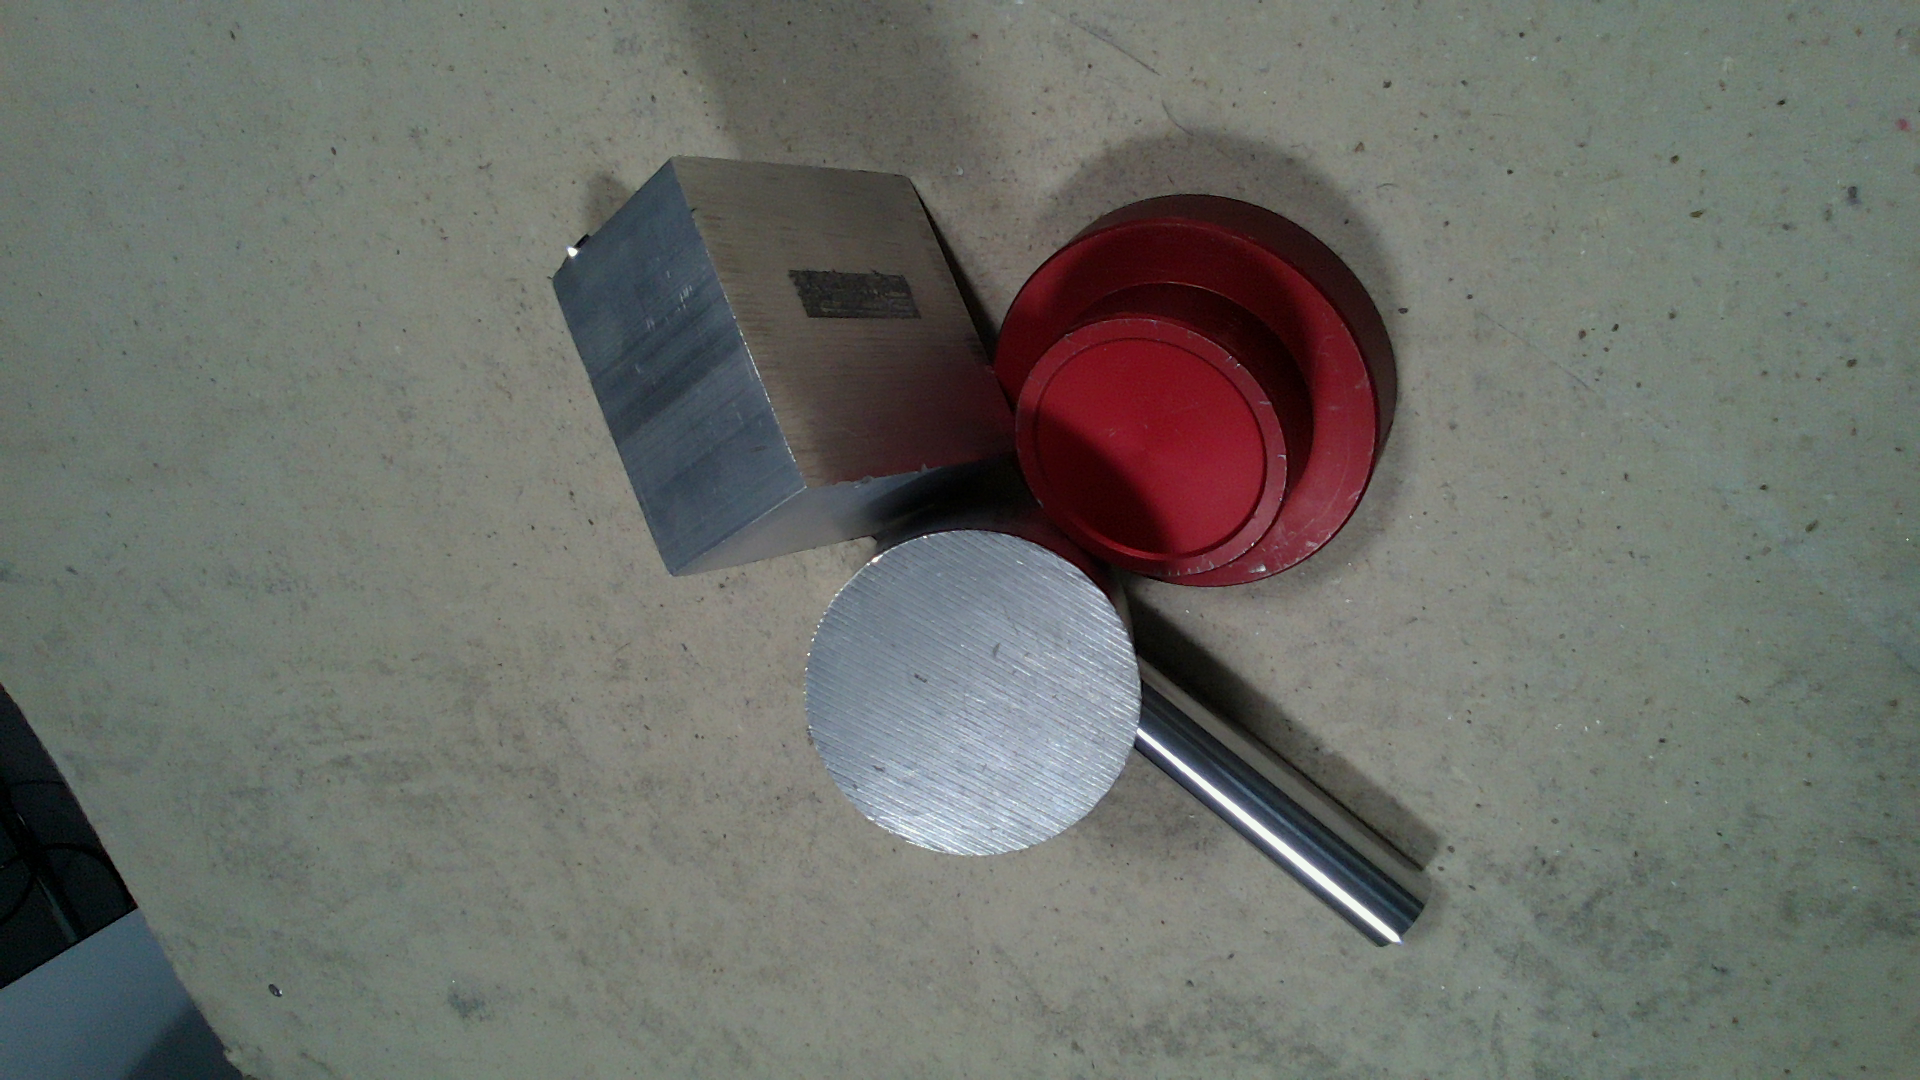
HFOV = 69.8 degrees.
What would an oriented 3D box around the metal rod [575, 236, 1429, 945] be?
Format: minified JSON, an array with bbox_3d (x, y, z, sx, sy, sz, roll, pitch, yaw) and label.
[{"bbox_3d":[0.008,0.012,0.397,0.300,0.025,0.025,39,129,2],"label":"metal rod"}]

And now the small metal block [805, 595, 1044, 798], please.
[{"bbox_3d":[-0.010,0.047,0.412,0.050,0.050,0.025,-24,105,36],"label":"small metal block"}]

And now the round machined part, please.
[{"bbox_3d":[0.052,-0.030,0.335,0.098,0.042,0.098,13,124,21],"label":"round machined part"}]

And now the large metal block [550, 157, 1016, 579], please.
[{"bbox_3d":[-0.041,-0.043,0.339,0.050,0.080,0.080,-29,80,39],"label":"large metal block"}]

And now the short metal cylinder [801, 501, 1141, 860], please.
[{"bbox_3d":[0.005,0.033,0.347,0.080,0.050,0.080,1,101,5],"label":"short metal cylinder"}]
